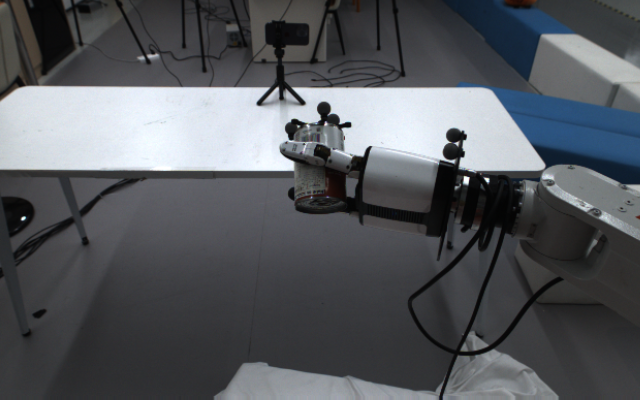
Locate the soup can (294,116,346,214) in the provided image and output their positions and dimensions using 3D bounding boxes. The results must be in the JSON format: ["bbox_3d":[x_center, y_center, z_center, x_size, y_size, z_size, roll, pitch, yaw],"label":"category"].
[{"bbox_3d":[0.002,-0.040,0.620,0.067,0.067,0.101,-2,71,-5],"label":"soup can"}]
